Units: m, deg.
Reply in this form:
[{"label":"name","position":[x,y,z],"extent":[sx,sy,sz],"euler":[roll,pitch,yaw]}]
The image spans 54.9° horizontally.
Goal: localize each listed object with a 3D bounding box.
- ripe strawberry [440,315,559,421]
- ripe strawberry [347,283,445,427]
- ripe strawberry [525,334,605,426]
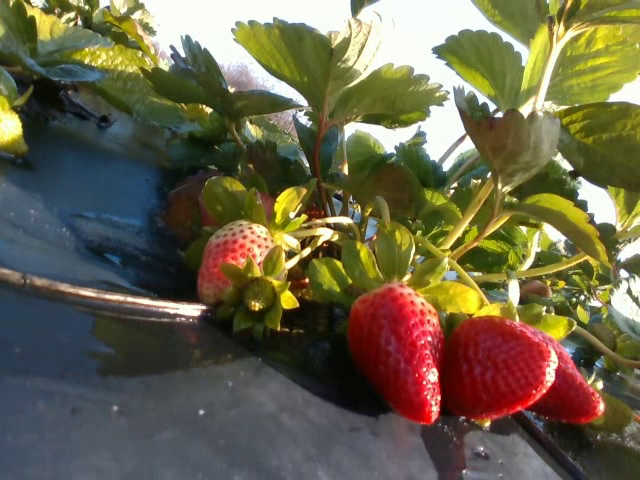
[{"label":"ripe strawberry","position":[0.052,0.034,0.174],"extent":[0.030,0.037,0.039],"euler":[29,-18,-21]},{"label":"ripe strawberry","position":[0.024,0.029,0.164],"extent":[0.031,0.023,0.046],"euler":[20,35,-28]},{"label":"ripe strawberry","position":[0.073,0.045,0.190],"extent":[0.035,0.034,0.041],"euler":[17,0,-30]}]
